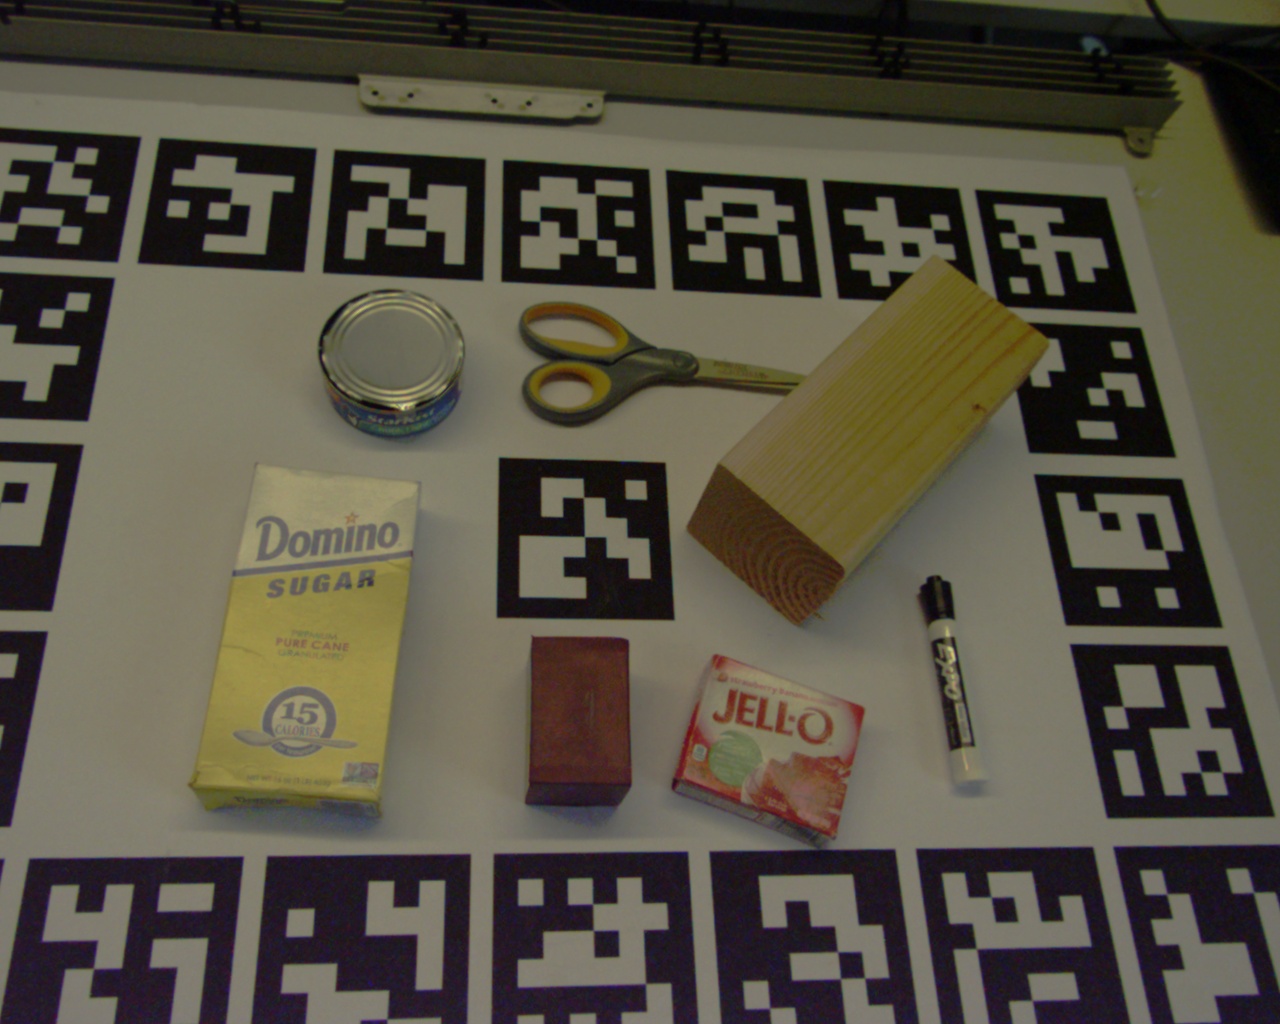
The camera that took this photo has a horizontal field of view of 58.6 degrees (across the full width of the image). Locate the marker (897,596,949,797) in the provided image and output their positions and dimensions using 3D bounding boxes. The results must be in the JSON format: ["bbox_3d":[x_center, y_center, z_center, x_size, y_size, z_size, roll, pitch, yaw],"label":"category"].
[{"bbox_3d":[0.171,0.110,0.691,0.019,0.019,0.121,2,68,-8],"label":"marker"}]

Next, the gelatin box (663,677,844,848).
[{"bbox_3d":[0.066,0.144,0.658,0.089,0.030,0.073,18,66,0],"label":"gelatin box"}]

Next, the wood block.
[{"bbox_3d":[0.132,-0.027,0.712,0.090,0.091,0.205,41,67,11],"label":"wood block"}]

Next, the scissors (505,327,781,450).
[{"bbox_3d":[0.009,-0.073,0.753,0.202,0.016,0.088,7,66,-2],"label":"scissors"}]

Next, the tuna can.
[{"bbox_3d":[-0.160,-0.073,0.717,0.085,0.034,0.086,2,67,-7],"label":"tuna can"}]

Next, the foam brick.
[{"bbox_3d":[-0.035,0.128,0.635,0.052,0.051,0.078,2,67,-7],"label":"foam brick"}]

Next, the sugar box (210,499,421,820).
[{"bbox_3d":[-0.178,0.082,0.645,0.092,0.045,0.177,5,66,-7],"label":"sugar box"}]
